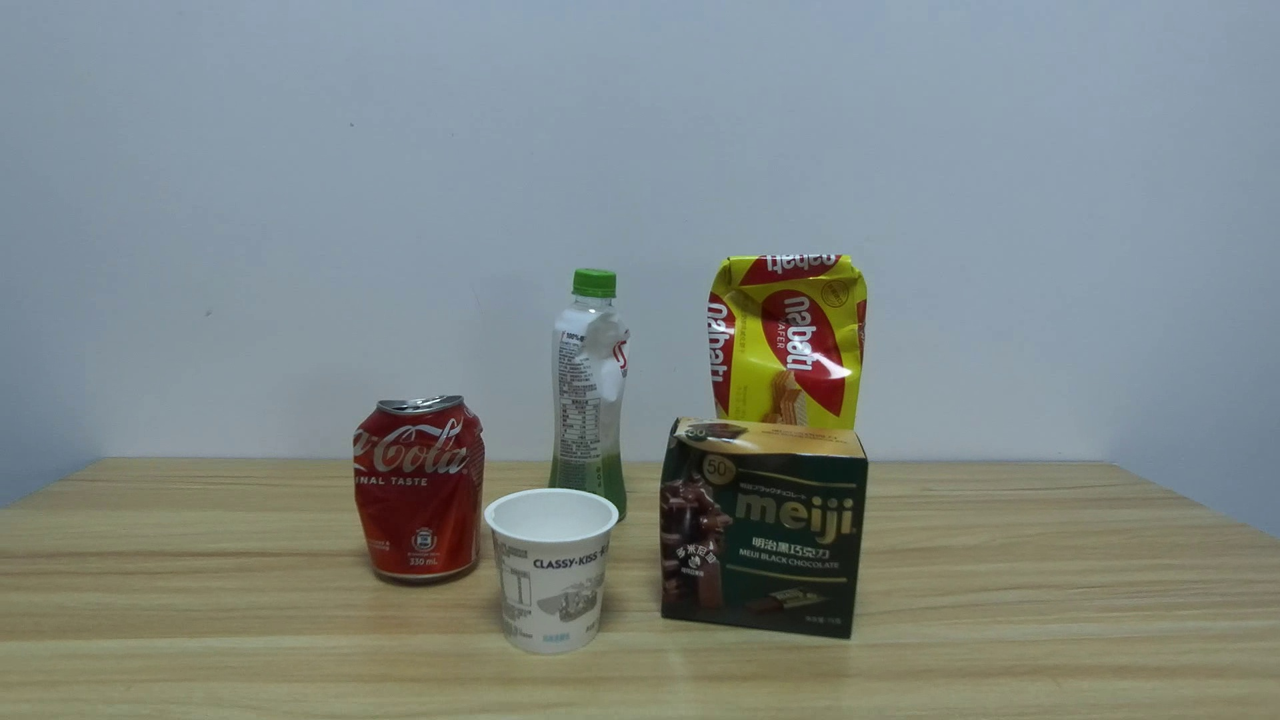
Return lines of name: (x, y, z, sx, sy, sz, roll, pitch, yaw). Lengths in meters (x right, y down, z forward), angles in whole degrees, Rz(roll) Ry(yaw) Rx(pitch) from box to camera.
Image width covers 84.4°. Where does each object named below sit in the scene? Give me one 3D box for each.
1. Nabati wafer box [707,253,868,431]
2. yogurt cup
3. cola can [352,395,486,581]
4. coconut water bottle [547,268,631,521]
Nabati wafer box: (0.106, 0.027, 0.518, 0.113, 0.205, 0.042, 0, 9, -2)
yogurt cup: (-0.047, 0.115, 0.386, 0.072, 0.068, 0.072, 2, 11, 0)
cola can: (-0.135, 0.079, 0.448, 0.069, 0.112, 0.066, 4, 10, 16)
coconut water bottle: (-0.038, 0.027, 0.529, 0.069, 0.186, 0.069, 2, 8, 0)
